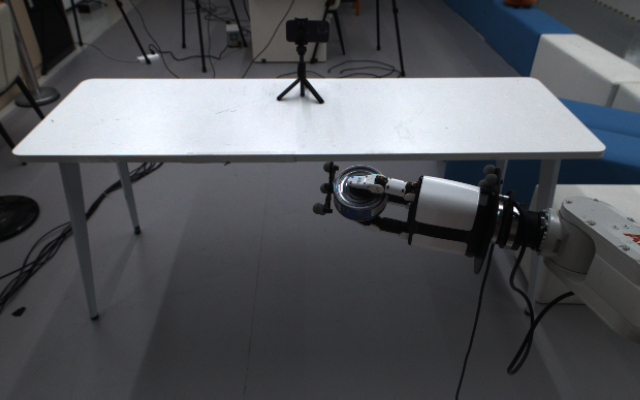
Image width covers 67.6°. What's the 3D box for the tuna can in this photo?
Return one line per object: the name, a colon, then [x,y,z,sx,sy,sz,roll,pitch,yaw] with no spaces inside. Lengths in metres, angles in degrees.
tuna can: [0.066,-0.009,0.748,0.085,0.034,0.085,-2,58,3]
